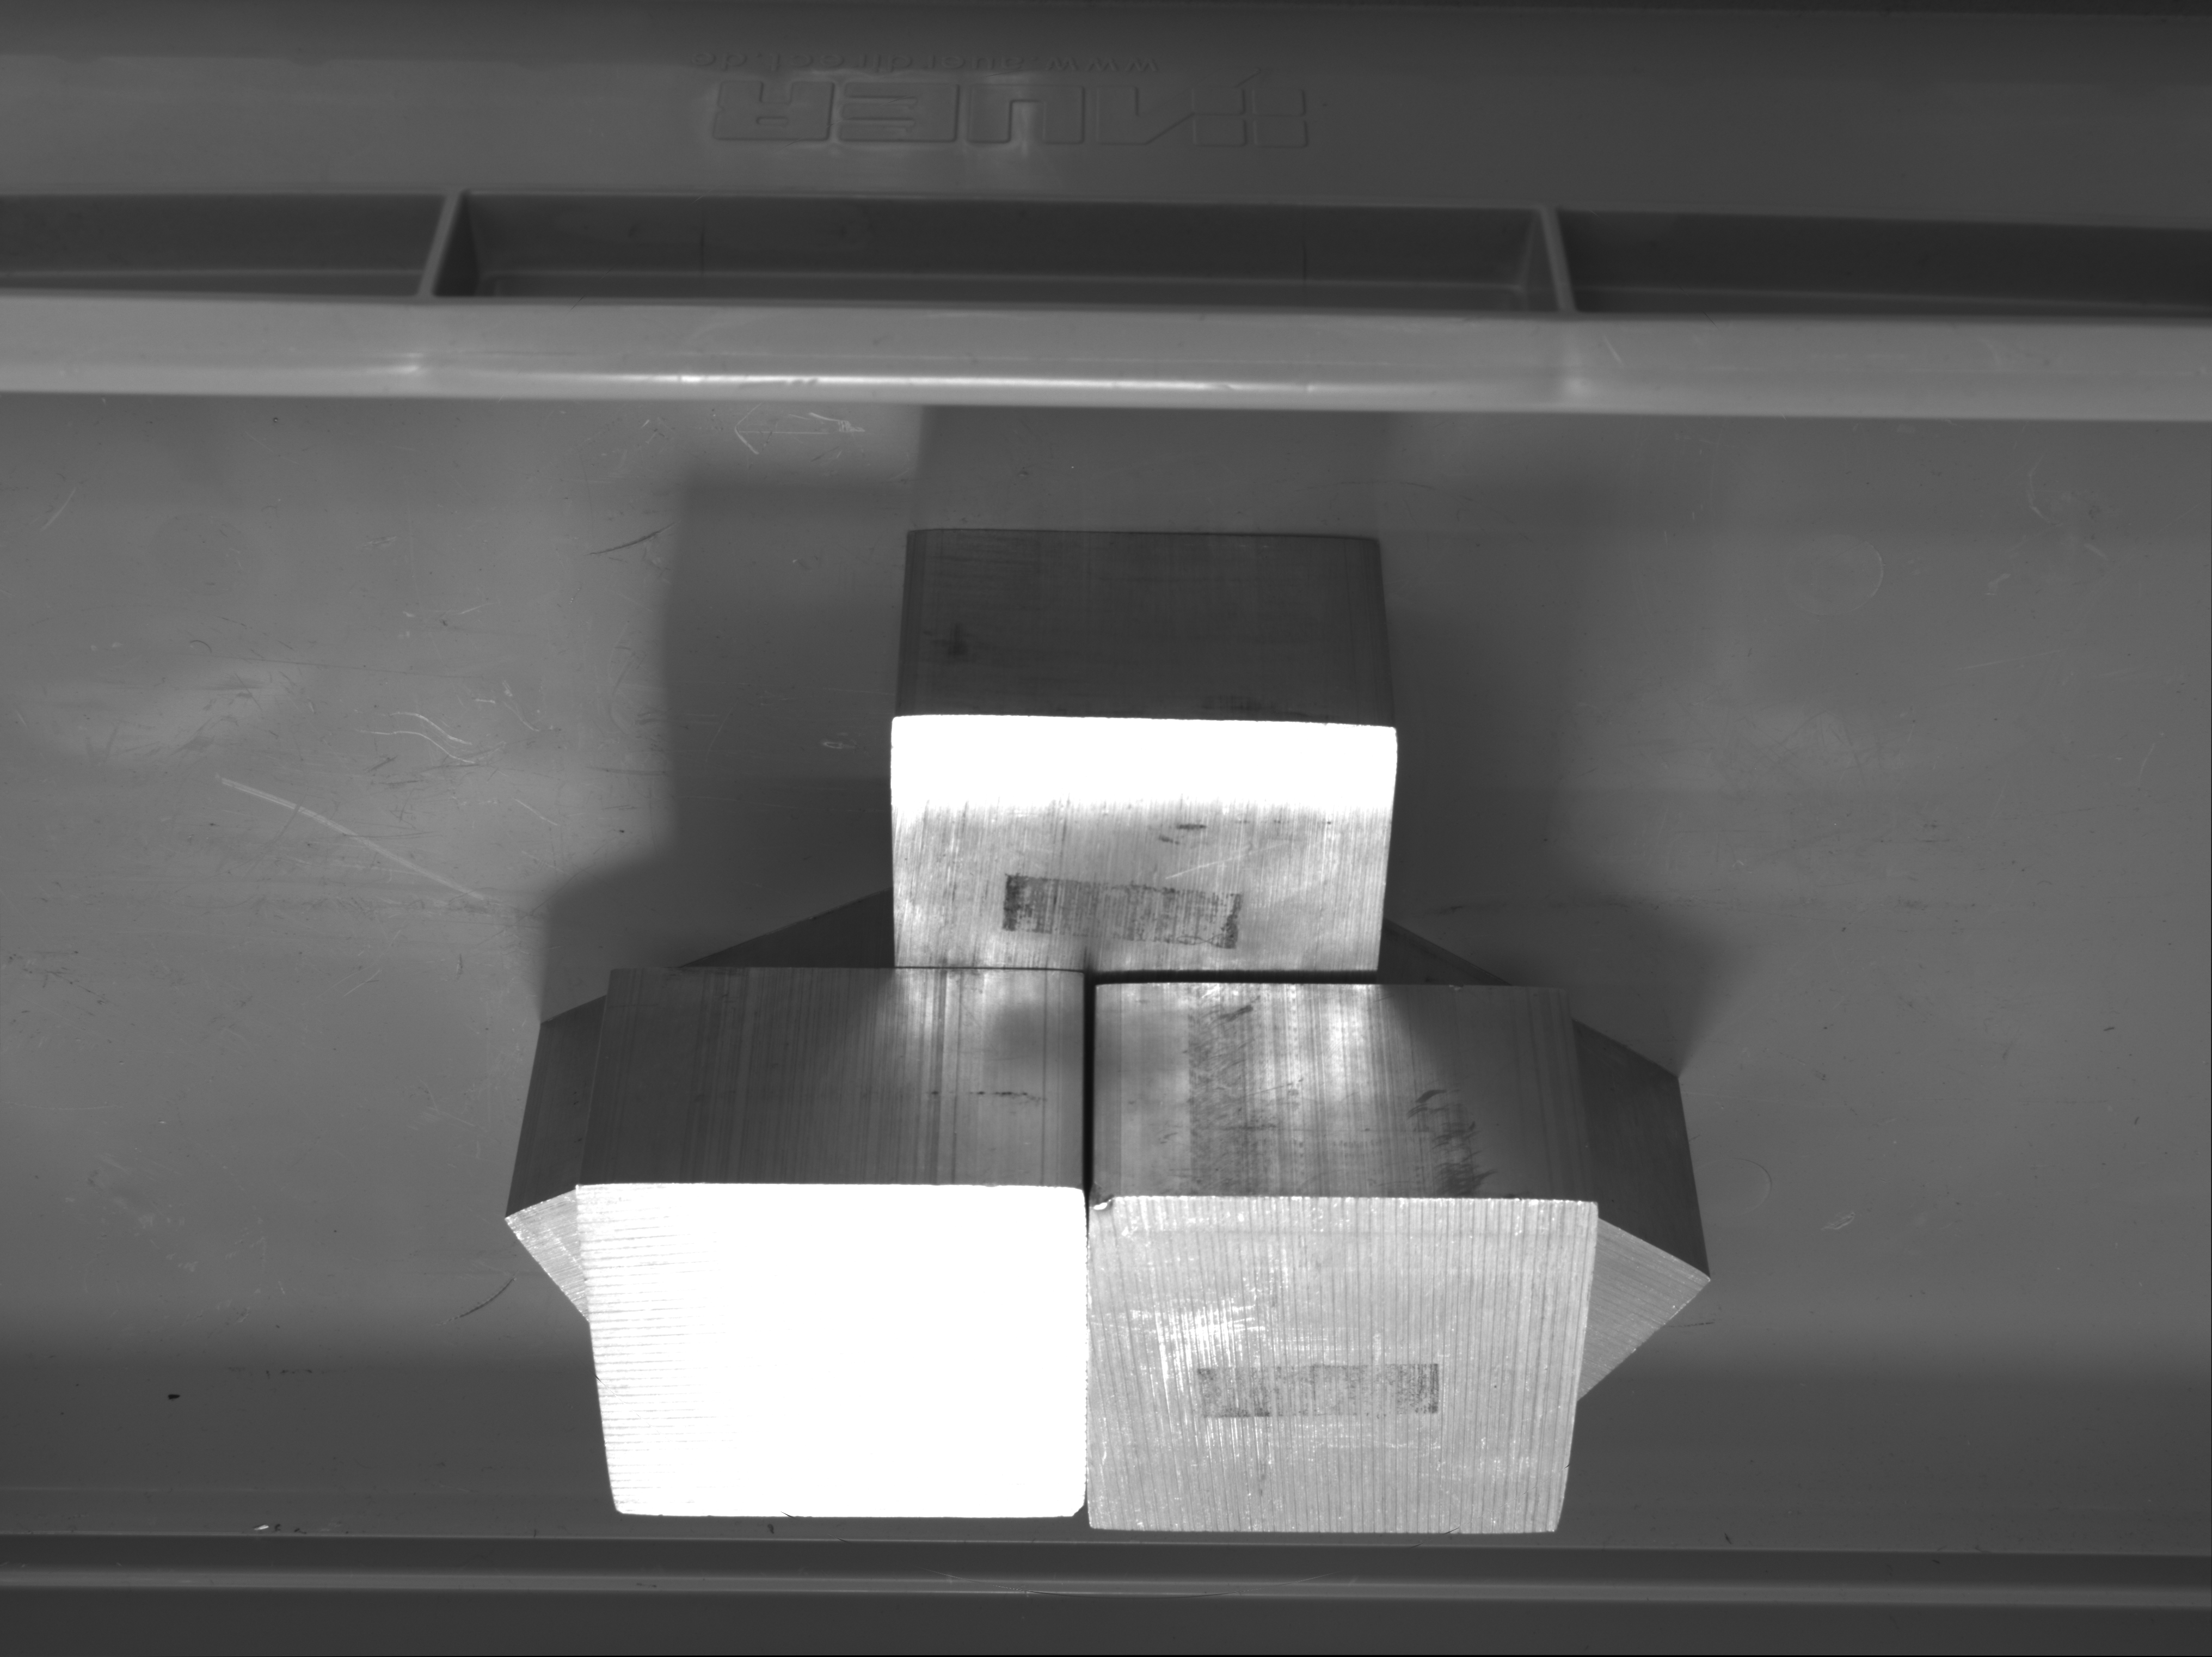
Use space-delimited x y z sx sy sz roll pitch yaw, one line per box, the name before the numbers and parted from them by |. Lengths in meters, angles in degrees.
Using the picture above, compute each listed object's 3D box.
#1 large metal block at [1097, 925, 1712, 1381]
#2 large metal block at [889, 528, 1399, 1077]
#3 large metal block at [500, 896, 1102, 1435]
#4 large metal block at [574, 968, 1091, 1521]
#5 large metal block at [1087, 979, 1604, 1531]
large metal block | 0.053 0.071 0.680 0.080 0.050 0.080 28 125 -21
large metal block | 0.005 -0.003 0.619 0.080 0.050 0.080 1 130 -1
large metal block | -0.053 0.067 0.677 0.080 0.050 0.080 -21 127 16
large metal block | -0.043 0.070 0.615 0.080 0.050 0.080 0 130 0
large metal block | 0.037 0.072 0.615 0.080 0.050 0.080 0 130 0
